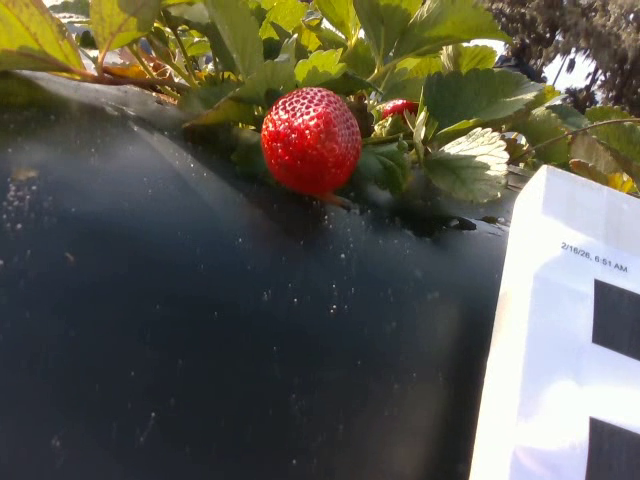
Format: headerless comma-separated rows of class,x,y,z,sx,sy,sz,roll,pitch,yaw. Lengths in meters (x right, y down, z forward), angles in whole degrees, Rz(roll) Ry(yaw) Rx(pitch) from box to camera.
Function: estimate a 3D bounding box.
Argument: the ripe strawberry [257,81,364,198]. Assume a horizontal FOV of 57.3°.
ripe strawberry,-0.001,-0.033,0.181,0.041,0.041,0.047,-10,4,-6
